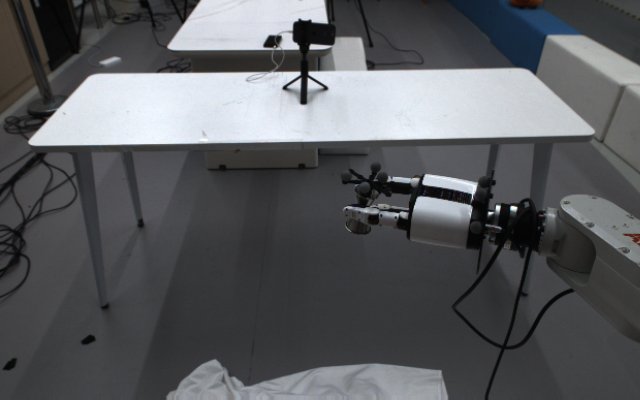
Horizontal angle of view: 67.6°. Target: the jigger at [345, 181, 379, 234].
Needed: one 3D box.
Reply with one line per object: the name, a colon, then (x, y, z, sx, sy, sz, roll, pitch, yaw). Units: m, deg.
jigger: (0.067, 0.015, 0.780, 0.043, 0.071, 0.043, 9, 30, -5)
